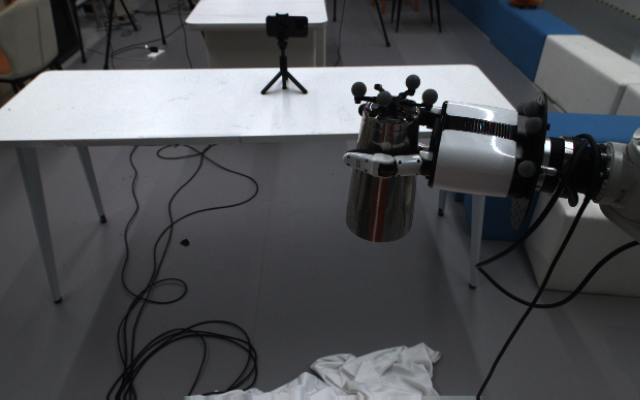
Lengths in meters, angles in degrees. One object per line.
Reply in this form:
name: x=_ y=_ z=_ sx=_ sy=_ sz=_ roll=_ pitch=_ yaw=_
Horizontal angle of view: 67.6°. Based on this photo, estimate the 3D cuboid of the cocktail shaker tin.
cocktail shaker tin: x=0.086 y=-0.043 z=0.615 sx=0.093 sy=0.170 sz=0.093 roll=1 pitch=39 yaw=-1
